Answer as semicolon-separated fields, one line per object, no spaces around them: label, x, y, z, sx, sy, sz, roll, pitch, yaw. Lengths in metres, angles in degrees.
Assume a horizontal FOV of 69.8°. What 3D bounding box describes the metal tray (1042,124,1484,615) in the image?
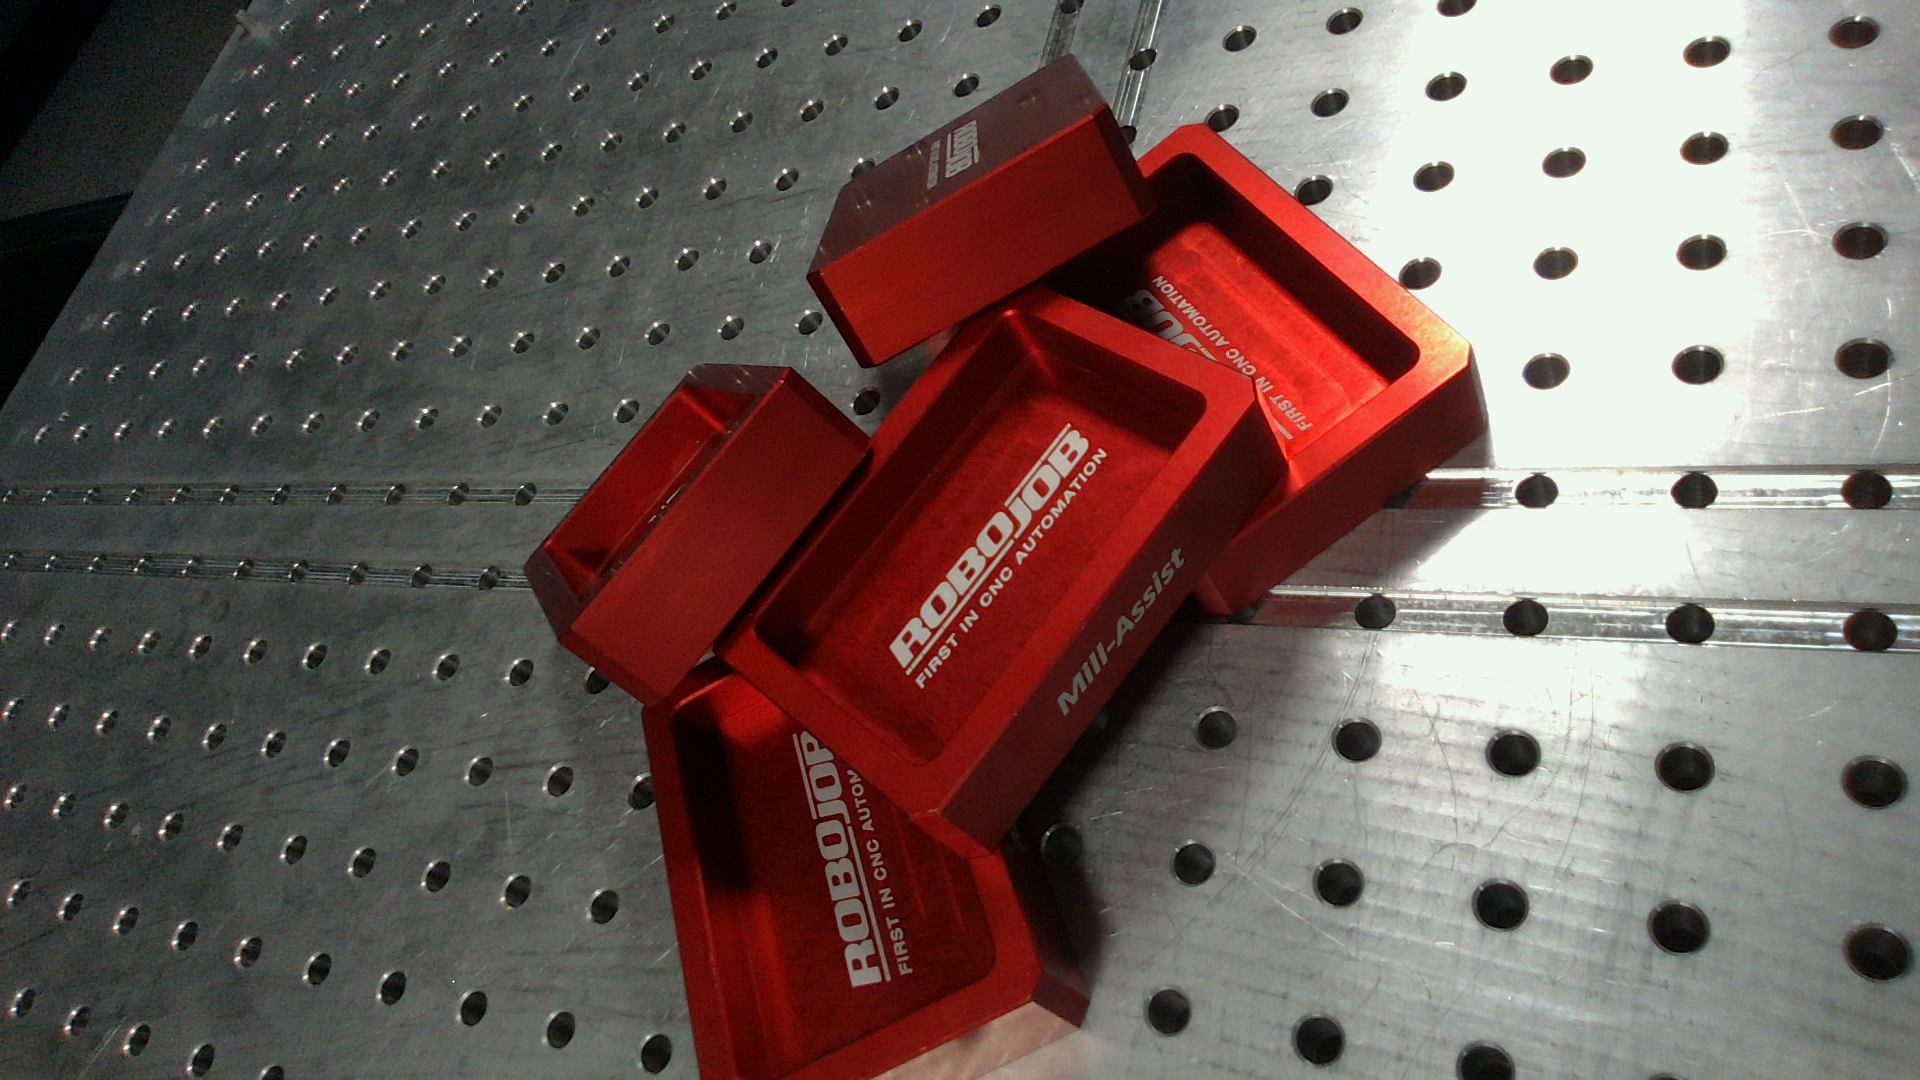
metal tray;0.069;-0.053;0.388;0.090;0.030;0.130;-37;51;3

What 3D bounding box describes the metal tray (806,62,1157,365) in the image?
metal tray;0.005;-0.104;0.416;0.090;0.030;0.130;-27;22;11

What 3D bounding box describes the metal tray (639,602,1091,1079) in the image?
metal tray;-0.030;0.080;0.361;0.090;0.030;0.130;-29;52;10

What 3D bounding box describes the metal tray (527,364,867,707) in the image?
metal tray;-0.083;-0.009;0.404;0.090;0.030;0.130;-51;21;-8

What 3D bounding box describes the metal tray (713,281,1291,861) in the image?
metal tray;0.009;0.002;0.348;0.090;0.030;0.130;32;80;38
